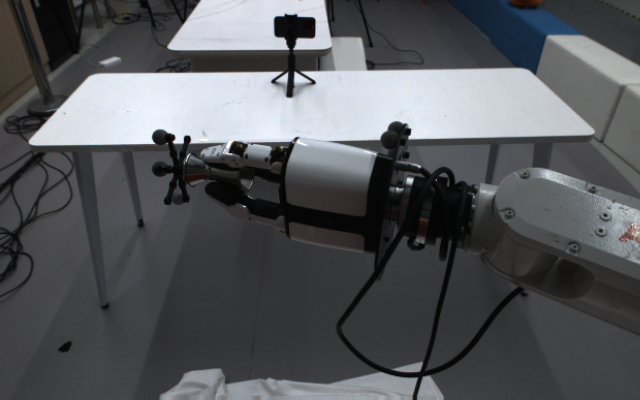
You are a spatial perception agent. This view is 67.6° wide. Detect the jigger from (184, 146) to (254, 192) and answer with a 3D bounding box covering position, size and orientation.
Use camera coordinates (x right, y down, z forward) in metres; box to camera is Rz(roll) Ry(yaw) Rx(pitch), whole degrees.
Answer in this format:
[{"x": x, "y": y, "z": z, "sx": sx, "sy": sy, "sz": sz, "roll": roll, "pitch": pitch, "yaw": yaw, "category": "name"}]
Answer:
[{"x": -0.109, "y": -0.036, "z": 0.545, "sx": 0.071, "sy": 0.043, "sz": 0.043, "roll": 3, "pitch": 34, "yaw": 12, "category": "jigger"}]
